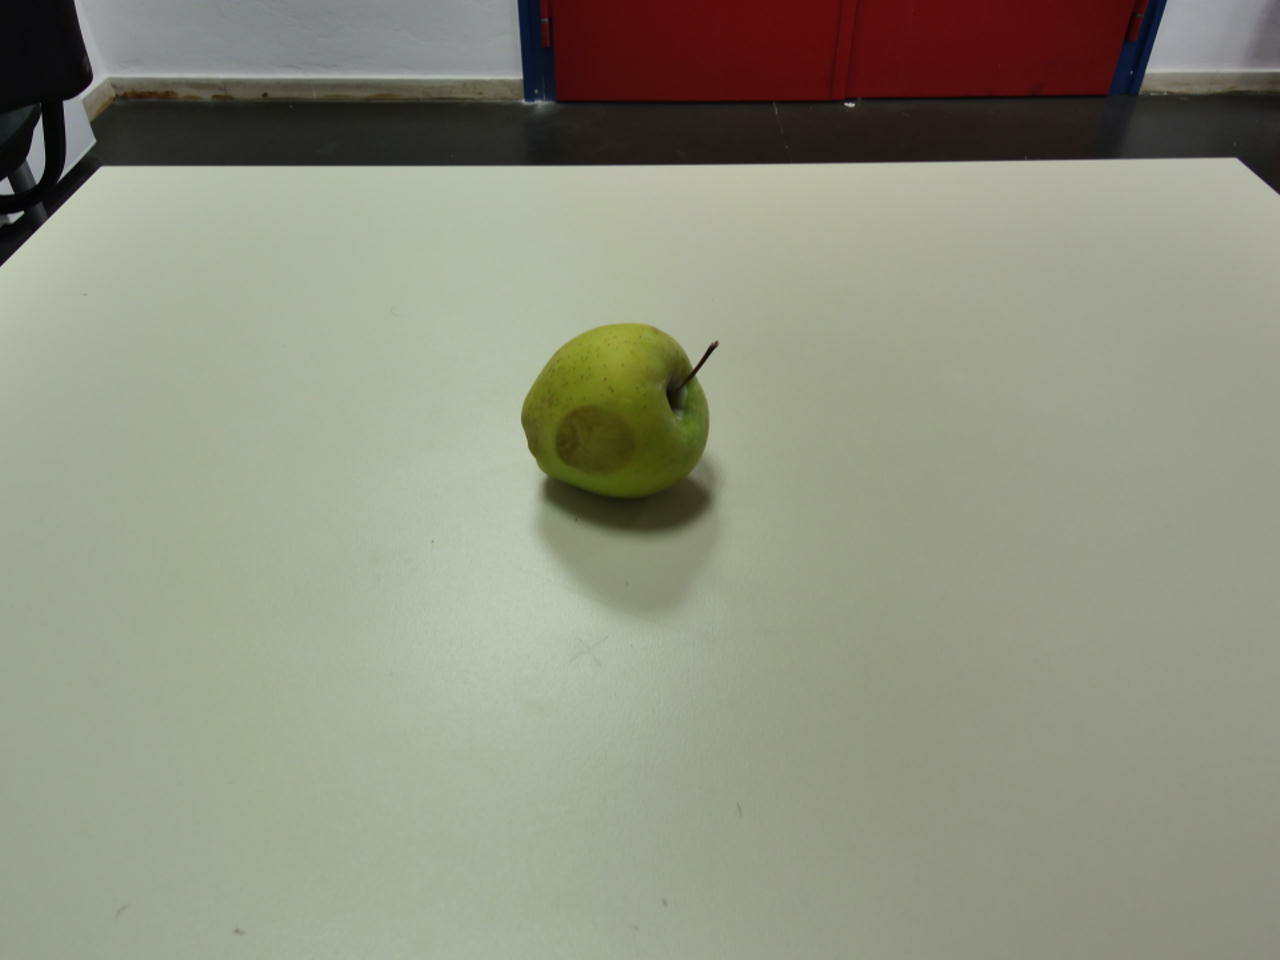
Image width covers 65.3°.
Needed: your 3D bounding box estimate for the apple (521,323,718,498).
[{"bbox_3d":[-0.009,-0.030,0.422,0.077,0.075,0.072,32,48,33],"label":"apple"}]
